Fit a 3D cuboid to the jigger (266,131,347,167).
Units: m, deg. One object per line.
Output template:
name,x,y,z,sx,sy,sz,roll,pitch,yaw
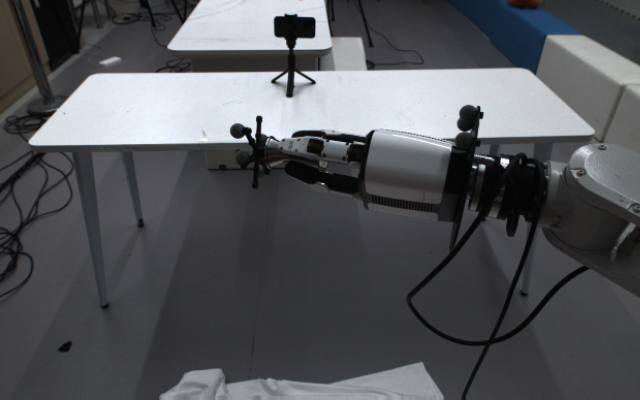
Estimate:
jigger,-0.020,-0.060,0.580,0.071,0.043,0.043,2,34,16
